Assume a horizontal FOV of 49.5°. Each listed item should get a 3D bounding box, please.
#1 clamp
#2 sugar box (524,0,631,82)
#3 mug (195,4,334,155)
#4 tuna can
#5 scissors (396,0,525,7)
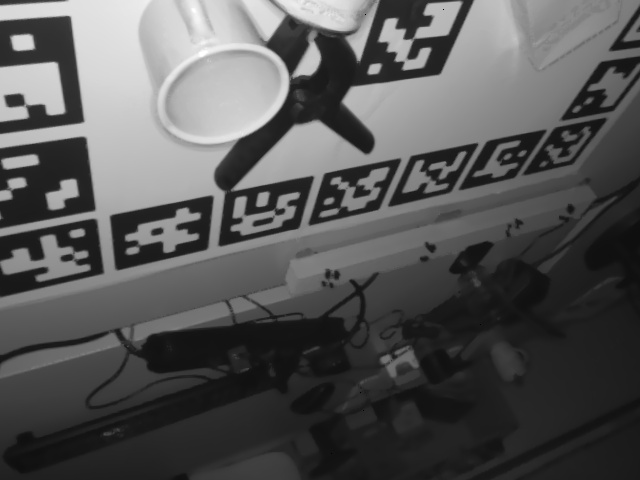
[{"bbox_3d":[0.005,-0.119,0.649,0.167,0.036,0.201,-18,148,-13],"label":"clamp"},{"bbox_3d":[0.237,-0.216,0.639,0.092,0.045,0.177,-32,156,10],"label":"sugar box"},{"bbox_3d":[-0.049,-0.131,0.528,0.093,0.081,0.117,-27,154,1],"label":"mug"},{"bbox_3d":[0.017,-0.170,0.508,0.087,0.086,0.033,-1,142,-36],"label":"tuna can"},{"bbox_3d":[0.138,-0.220,0.587,0.204,0.016,0.087,-17,153,-13],"label":"scissors"}]
